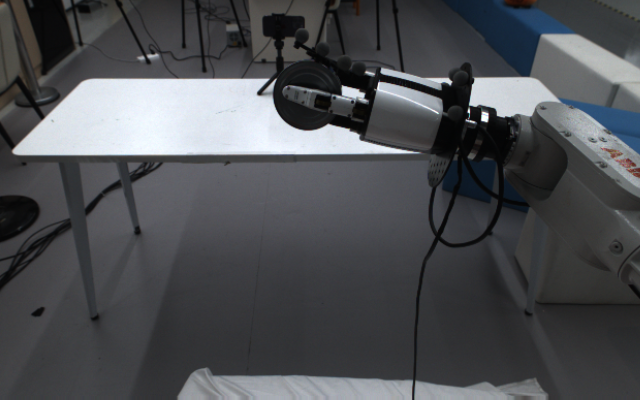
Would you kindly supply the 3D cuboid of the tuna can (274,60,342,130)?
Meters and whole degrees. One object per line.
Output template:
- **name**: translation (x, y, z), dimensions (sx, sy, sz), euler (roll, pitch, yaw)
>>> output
- **tuna can**: translation (-0.014, -0.134, 0.614), dimensions (0.085, 0.085, 0.034), euler (4, 20, 3)
